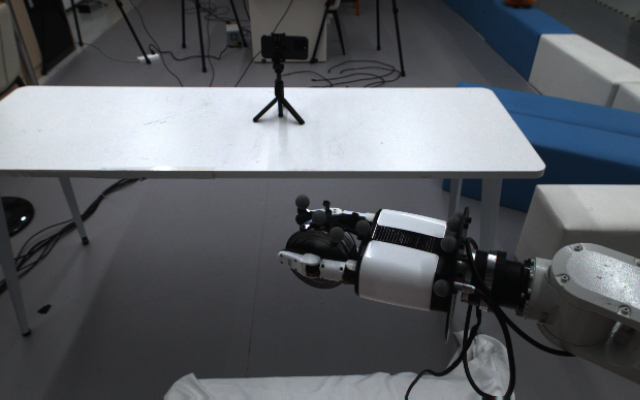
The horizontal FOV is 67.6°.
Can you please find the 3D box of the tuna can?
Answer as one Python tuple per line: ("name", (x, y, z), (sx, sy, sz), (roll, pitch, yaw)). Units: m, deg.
("tuna can", (0.006, 0.065, 0.605), (0.085, 0.085, 0.034), (16, 29, 19))
